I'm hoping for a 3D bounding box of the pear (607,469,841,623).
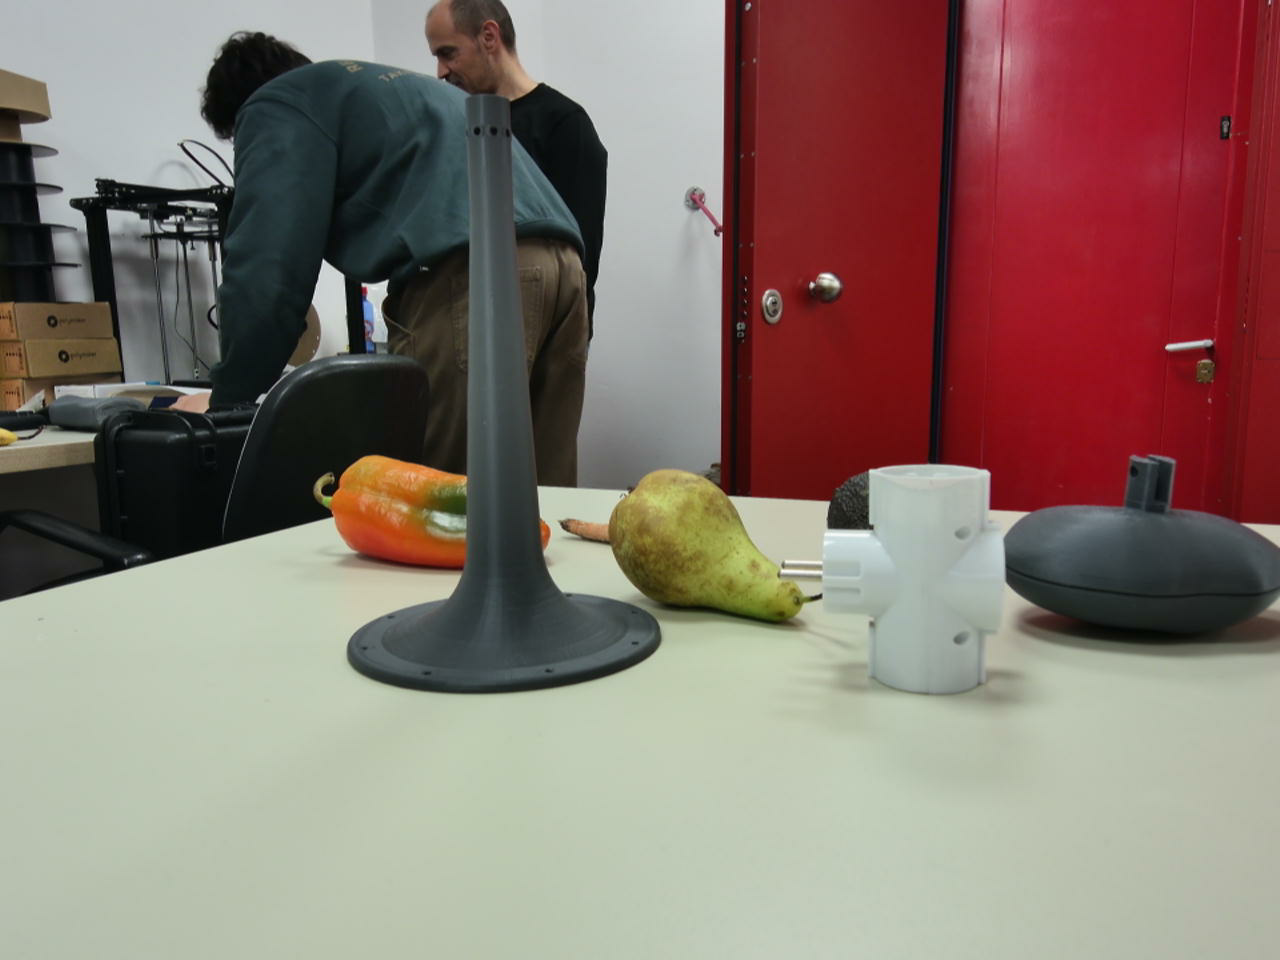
[{"bbox_3d":[0.050,0.033,0.536,0.144,0.075,0.071,3,7,31],"label":"pear"}]
